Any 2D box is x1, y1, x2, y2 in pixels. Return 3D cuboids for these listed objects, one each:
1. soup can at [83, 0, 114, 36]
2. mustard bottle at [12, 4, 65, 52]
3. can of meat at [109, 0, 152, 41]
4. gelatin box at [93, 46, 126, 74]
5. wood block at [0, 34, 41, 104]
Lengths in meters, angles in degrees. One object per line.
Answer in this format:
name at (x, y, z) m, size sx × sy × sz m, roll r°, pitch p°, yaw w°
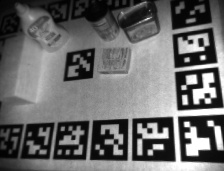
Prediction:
soup can at (-0.041, -0.195, 0.622) m, size 0.067 × 0.103 × 0.068 m, roll -7°, pitch 71°, yaw 21°
mustard bottle at (-0.234, -0.179, 0.656) m, size 0.096 × 0.194 × 0.058 m, roll -30°, pitch 63°, yaw 9°
can of meat at (0.056, -0.177, 0.599) m, size 0.101 × 0.084 × 0.057 m, roll -19°, pitch 67°, yaw 12°
gelatin box at (-0.010, -0.074, 0.614) m, size 0.088 × 0.030 × 0.073 m, roll 4°, pitch 76°, yaw 25°
wood block at (-0.311, -0.055, 0.696) m, size 0.090 × 0.091 × 0.205 m, roll -4°, pitch 67°, yaw 19°
